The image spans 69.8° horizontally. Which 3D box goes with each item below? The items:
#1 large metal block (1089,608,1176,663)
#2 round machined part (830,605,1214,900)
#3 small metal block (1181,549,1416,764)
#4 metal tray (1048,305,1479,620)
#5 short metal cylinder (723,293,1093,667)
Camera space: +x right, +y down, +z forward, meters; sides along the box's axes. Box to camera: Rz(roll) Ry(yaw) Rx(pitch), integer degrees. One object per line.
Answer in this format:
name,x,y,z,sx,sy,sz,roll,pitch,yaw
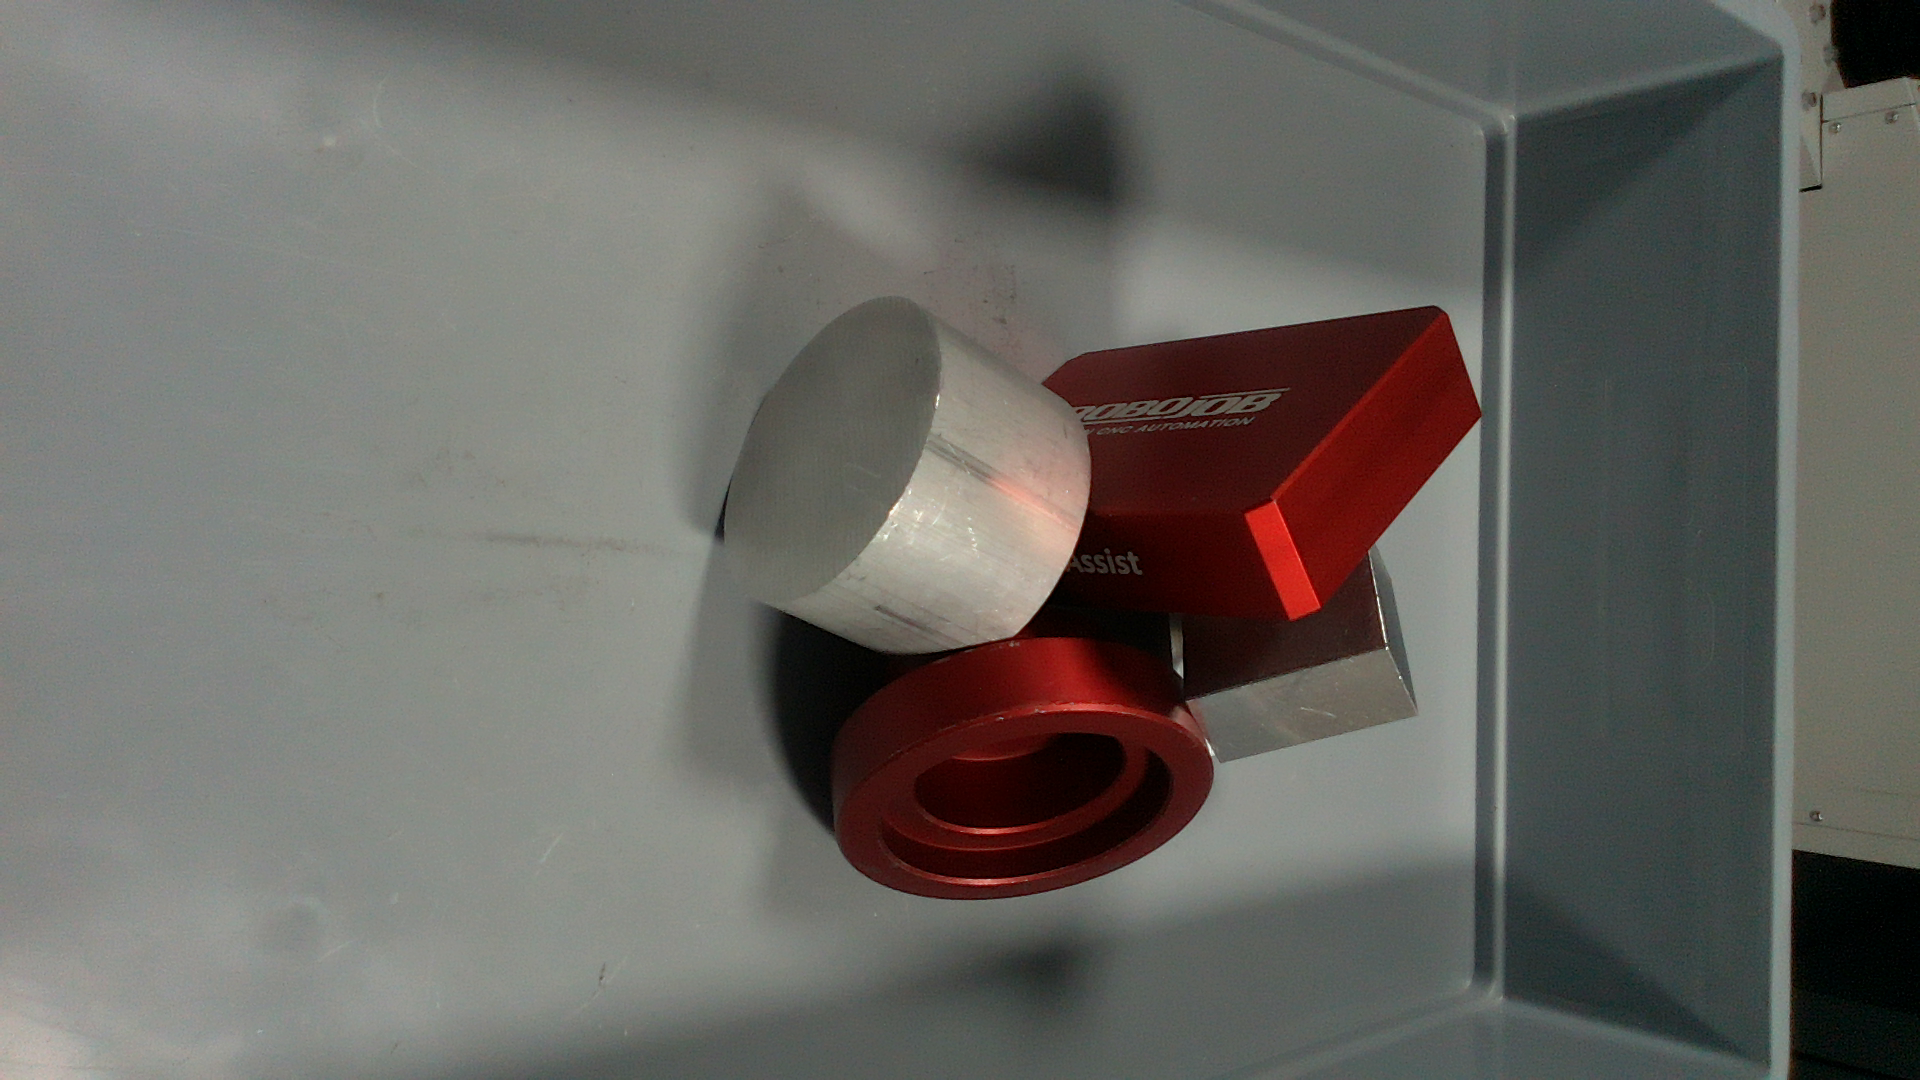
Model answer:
large metal block,0.070,0.015,0.420,0.080,0.050,0.080,-18,106,-38
round machined part,0.014,0.054,0.364,0.098,0.098,0.042,26,38,-37
small metal block,0.085,0.025,0.354,0.025,0.050,0.050,57,25,-32
metal tray,0.056,-0.021,0.366,0.090,0.129,0.030,-43,117,-32
short metal cylinder,-0.014,-0.013,0.340,0.050,0.080,0.080,28,72,-36
